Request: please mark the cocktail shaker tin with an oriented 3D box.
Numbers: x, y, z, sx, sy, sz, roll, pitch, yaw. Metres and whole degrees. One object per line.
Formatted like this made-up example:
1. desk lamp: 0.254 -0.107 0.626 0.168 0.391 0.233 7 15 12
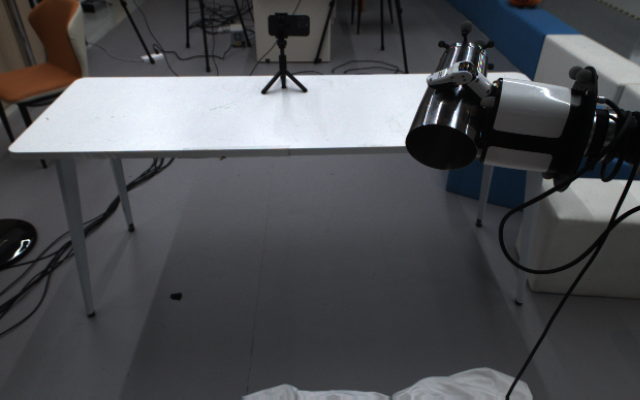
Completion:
1. cocktail shaker tin: 0.182 -0.137 0.663 0.093 0.093 0.170 14 61 16
